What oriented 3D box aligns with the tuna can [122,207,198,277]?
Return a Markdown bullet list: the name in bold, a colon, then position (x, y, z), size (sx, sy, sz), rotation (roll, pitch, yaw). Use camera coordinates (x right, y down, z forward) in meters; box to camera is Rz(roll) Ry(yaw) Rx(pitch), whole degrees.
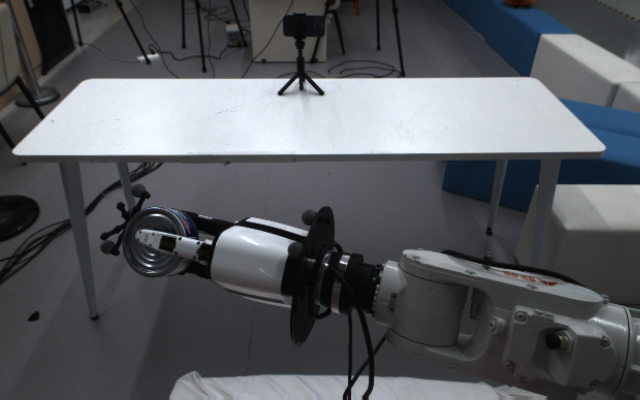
- **tuna can**: position (-0.191, 0.055, 0.582), size (0.085, 0.085, 0.034), rotation (10, -3, 11)
